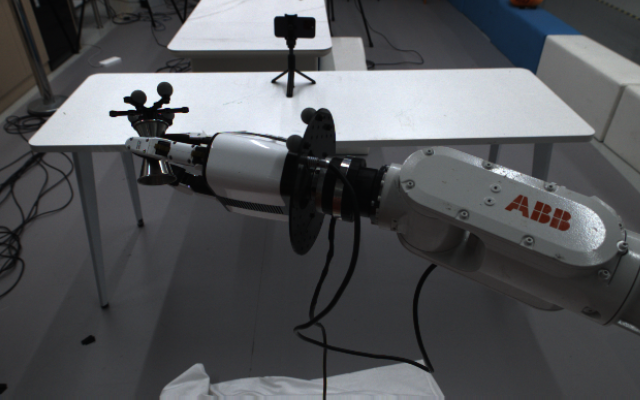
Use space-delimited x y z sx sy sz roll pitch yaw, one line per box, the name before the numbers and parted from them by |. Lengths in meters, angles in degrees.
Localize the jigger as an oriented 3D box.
jigger | -0.192 -0.055 0.566 0.043 0.043 0.071 -8 79 -14
